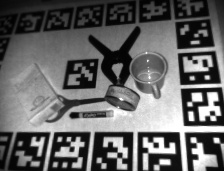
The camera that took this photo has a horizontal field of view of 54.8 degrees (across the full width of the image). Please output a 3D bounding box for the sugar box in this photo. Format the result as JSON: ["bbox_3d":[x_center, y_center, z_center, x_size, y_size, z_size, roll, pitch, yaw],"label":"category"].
[{"bbox_3d":[-0.219,0.016,0.623,0.093,0.046,0.174,-36,58,-5],"label":"sugar box"}]

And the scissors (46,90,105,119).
[{"bbox_3d":[-0.113,0.039,0.609,0.202,0.016,0.087,-12,61,4],"label":"scissors"}]

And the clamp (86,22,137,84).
[{"bbox_3d":[0.008,-0.090,0.646,0.165,0.037,0.201,-12,66,6],"label":"clamp"}]

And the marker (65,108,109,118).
[{"bbox_3d":[-0.069,0.076,0.586,0.120,0.020,0.019,-6,66,10],"label":"marker"}]

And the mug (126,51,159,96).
[{"bbox_3d":[0.086,-0.023,0.566,0.093,0.082,0.116,-27,60,-1],"label":"mug"}]

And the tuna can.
[{"bbox_3d":[0.025,0.026,0.552,0.085,0.086,0.034,14,70,18],"label":"tuna can"}]
